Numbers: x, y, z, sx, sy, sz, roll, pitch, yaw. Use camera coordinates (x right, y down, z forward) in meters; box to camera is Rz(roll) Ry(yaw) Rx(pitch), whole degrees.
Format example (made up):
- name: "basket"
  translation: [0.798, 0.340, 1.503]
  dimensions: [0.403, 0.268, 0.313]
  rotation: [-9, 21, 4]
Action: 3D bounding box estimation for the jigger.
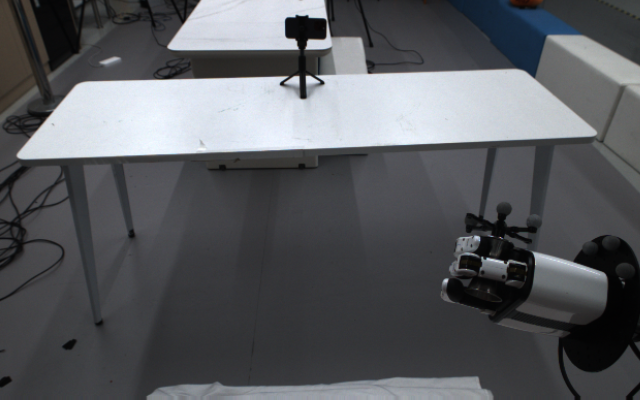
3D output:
- name: "jigger"
  translation: [0.201, 0.078, 0.568]
  dimensions: [0.043, 0.043, 0.071]
  rotation: [15, 70, 18]
